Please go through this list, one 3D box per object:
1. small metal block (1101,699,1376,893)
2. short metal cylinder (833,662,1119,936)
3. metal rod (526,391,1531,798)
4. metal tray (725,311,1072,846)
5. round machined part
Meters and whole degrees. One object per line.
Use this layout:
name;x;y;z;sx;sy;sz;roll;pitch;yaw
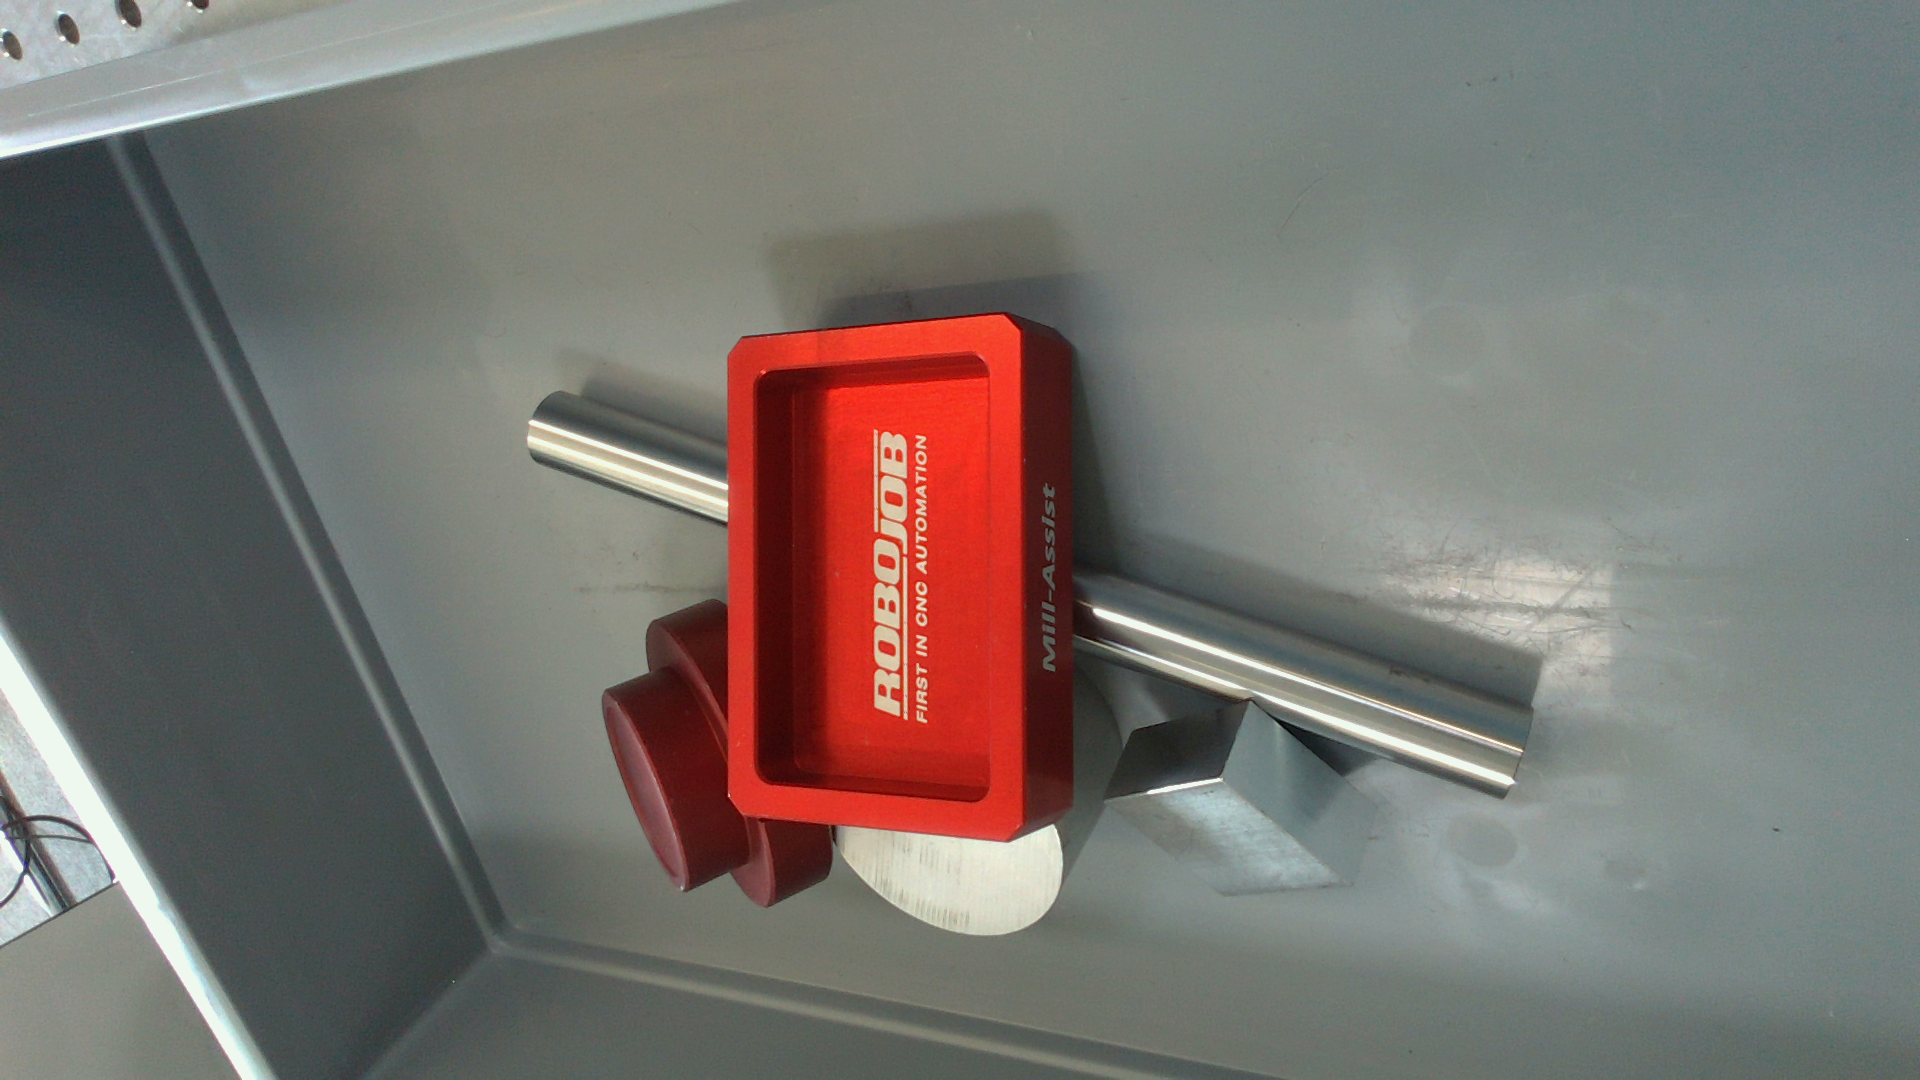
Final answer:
small metal block;0.076;0.073;0.381;0.050;0.025;0.050;38;148;-17
short metal cylinder;0.003;0.072;0.418;0.080;0.050;0.080;13;124;21
metal rod;0.005;0.009;0.394;0.299;0.025;0.025;18;126;18
metal tray;-0.017;0.010;0.365;0.090;0.030;0.130;-1;89;28
round machined part;-0.082;0.071;0.438;0.098;0.042;0.098;44;146;42
